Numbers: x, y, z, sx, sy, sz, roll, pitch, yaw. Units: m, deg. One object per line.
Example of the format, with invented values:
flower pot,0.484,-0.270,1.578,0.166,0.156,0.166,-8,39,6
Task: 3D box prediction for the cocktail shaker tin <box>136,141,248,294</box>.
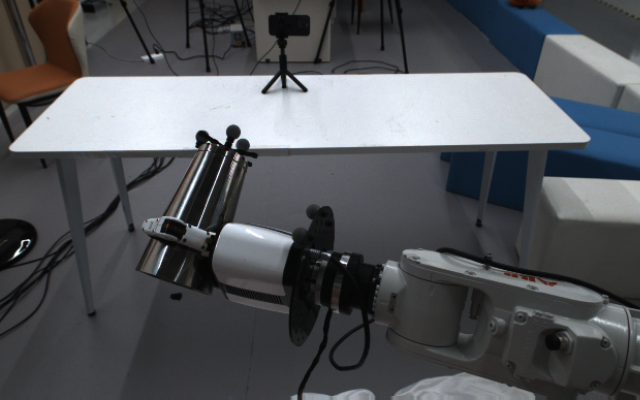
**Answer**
cocktail shaker tin,-0.148,0.021,0.592,0.093,0.093,0.170,13,73,16
